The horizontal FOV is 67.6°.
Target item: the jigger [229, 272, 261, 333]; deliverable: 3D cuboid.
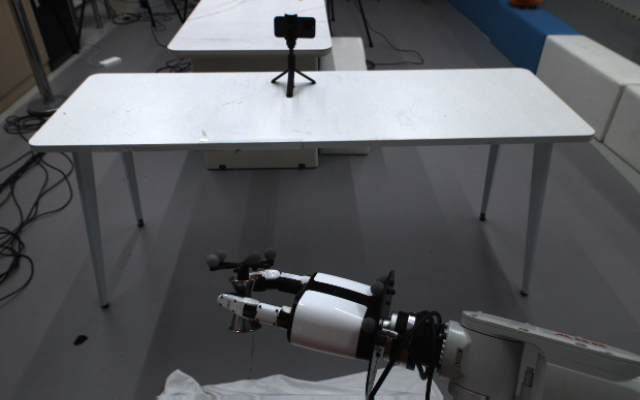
[{"bbox_3d":[-0.101,0.137,0.647,0.043,0.071,0.043,-2,3,0],"label":"jigger"}]
